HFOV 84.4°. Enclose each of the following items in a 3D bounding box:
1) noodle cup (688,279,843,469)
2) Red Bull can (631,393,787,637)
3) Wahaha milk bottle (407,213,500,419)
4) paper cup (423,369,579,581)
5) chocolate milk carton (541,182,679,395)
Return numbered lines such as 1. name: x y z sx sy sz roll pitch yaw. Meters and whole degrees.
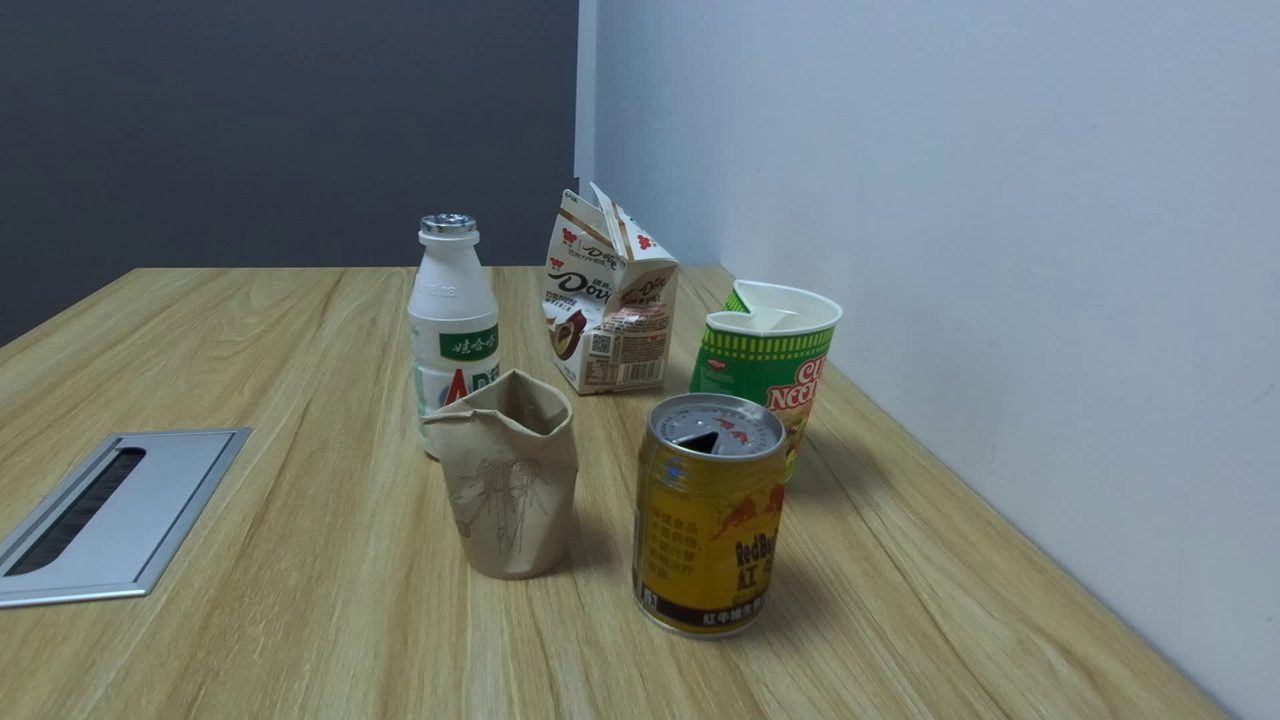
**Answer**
1. noodle cup: 0.067 0.018 0.424 0.086 0.109 0.094 19 28 34
2. Red Bull can: 0.032 0.076 0.335 0.068 0.093 0.068 5 8 0
3. Wahaha milk bottle: -0.112 -0.012 0.430 0.053 0.147 0.053 3 22 -1
4. paper cup: -0.066 0.059 0.349 0.058 0.083 0.066 -19 29 -35
5. chocolate milk carton: -0.024 -0.049 0.534 0.077 0.155 0.089 -11 39 -21
